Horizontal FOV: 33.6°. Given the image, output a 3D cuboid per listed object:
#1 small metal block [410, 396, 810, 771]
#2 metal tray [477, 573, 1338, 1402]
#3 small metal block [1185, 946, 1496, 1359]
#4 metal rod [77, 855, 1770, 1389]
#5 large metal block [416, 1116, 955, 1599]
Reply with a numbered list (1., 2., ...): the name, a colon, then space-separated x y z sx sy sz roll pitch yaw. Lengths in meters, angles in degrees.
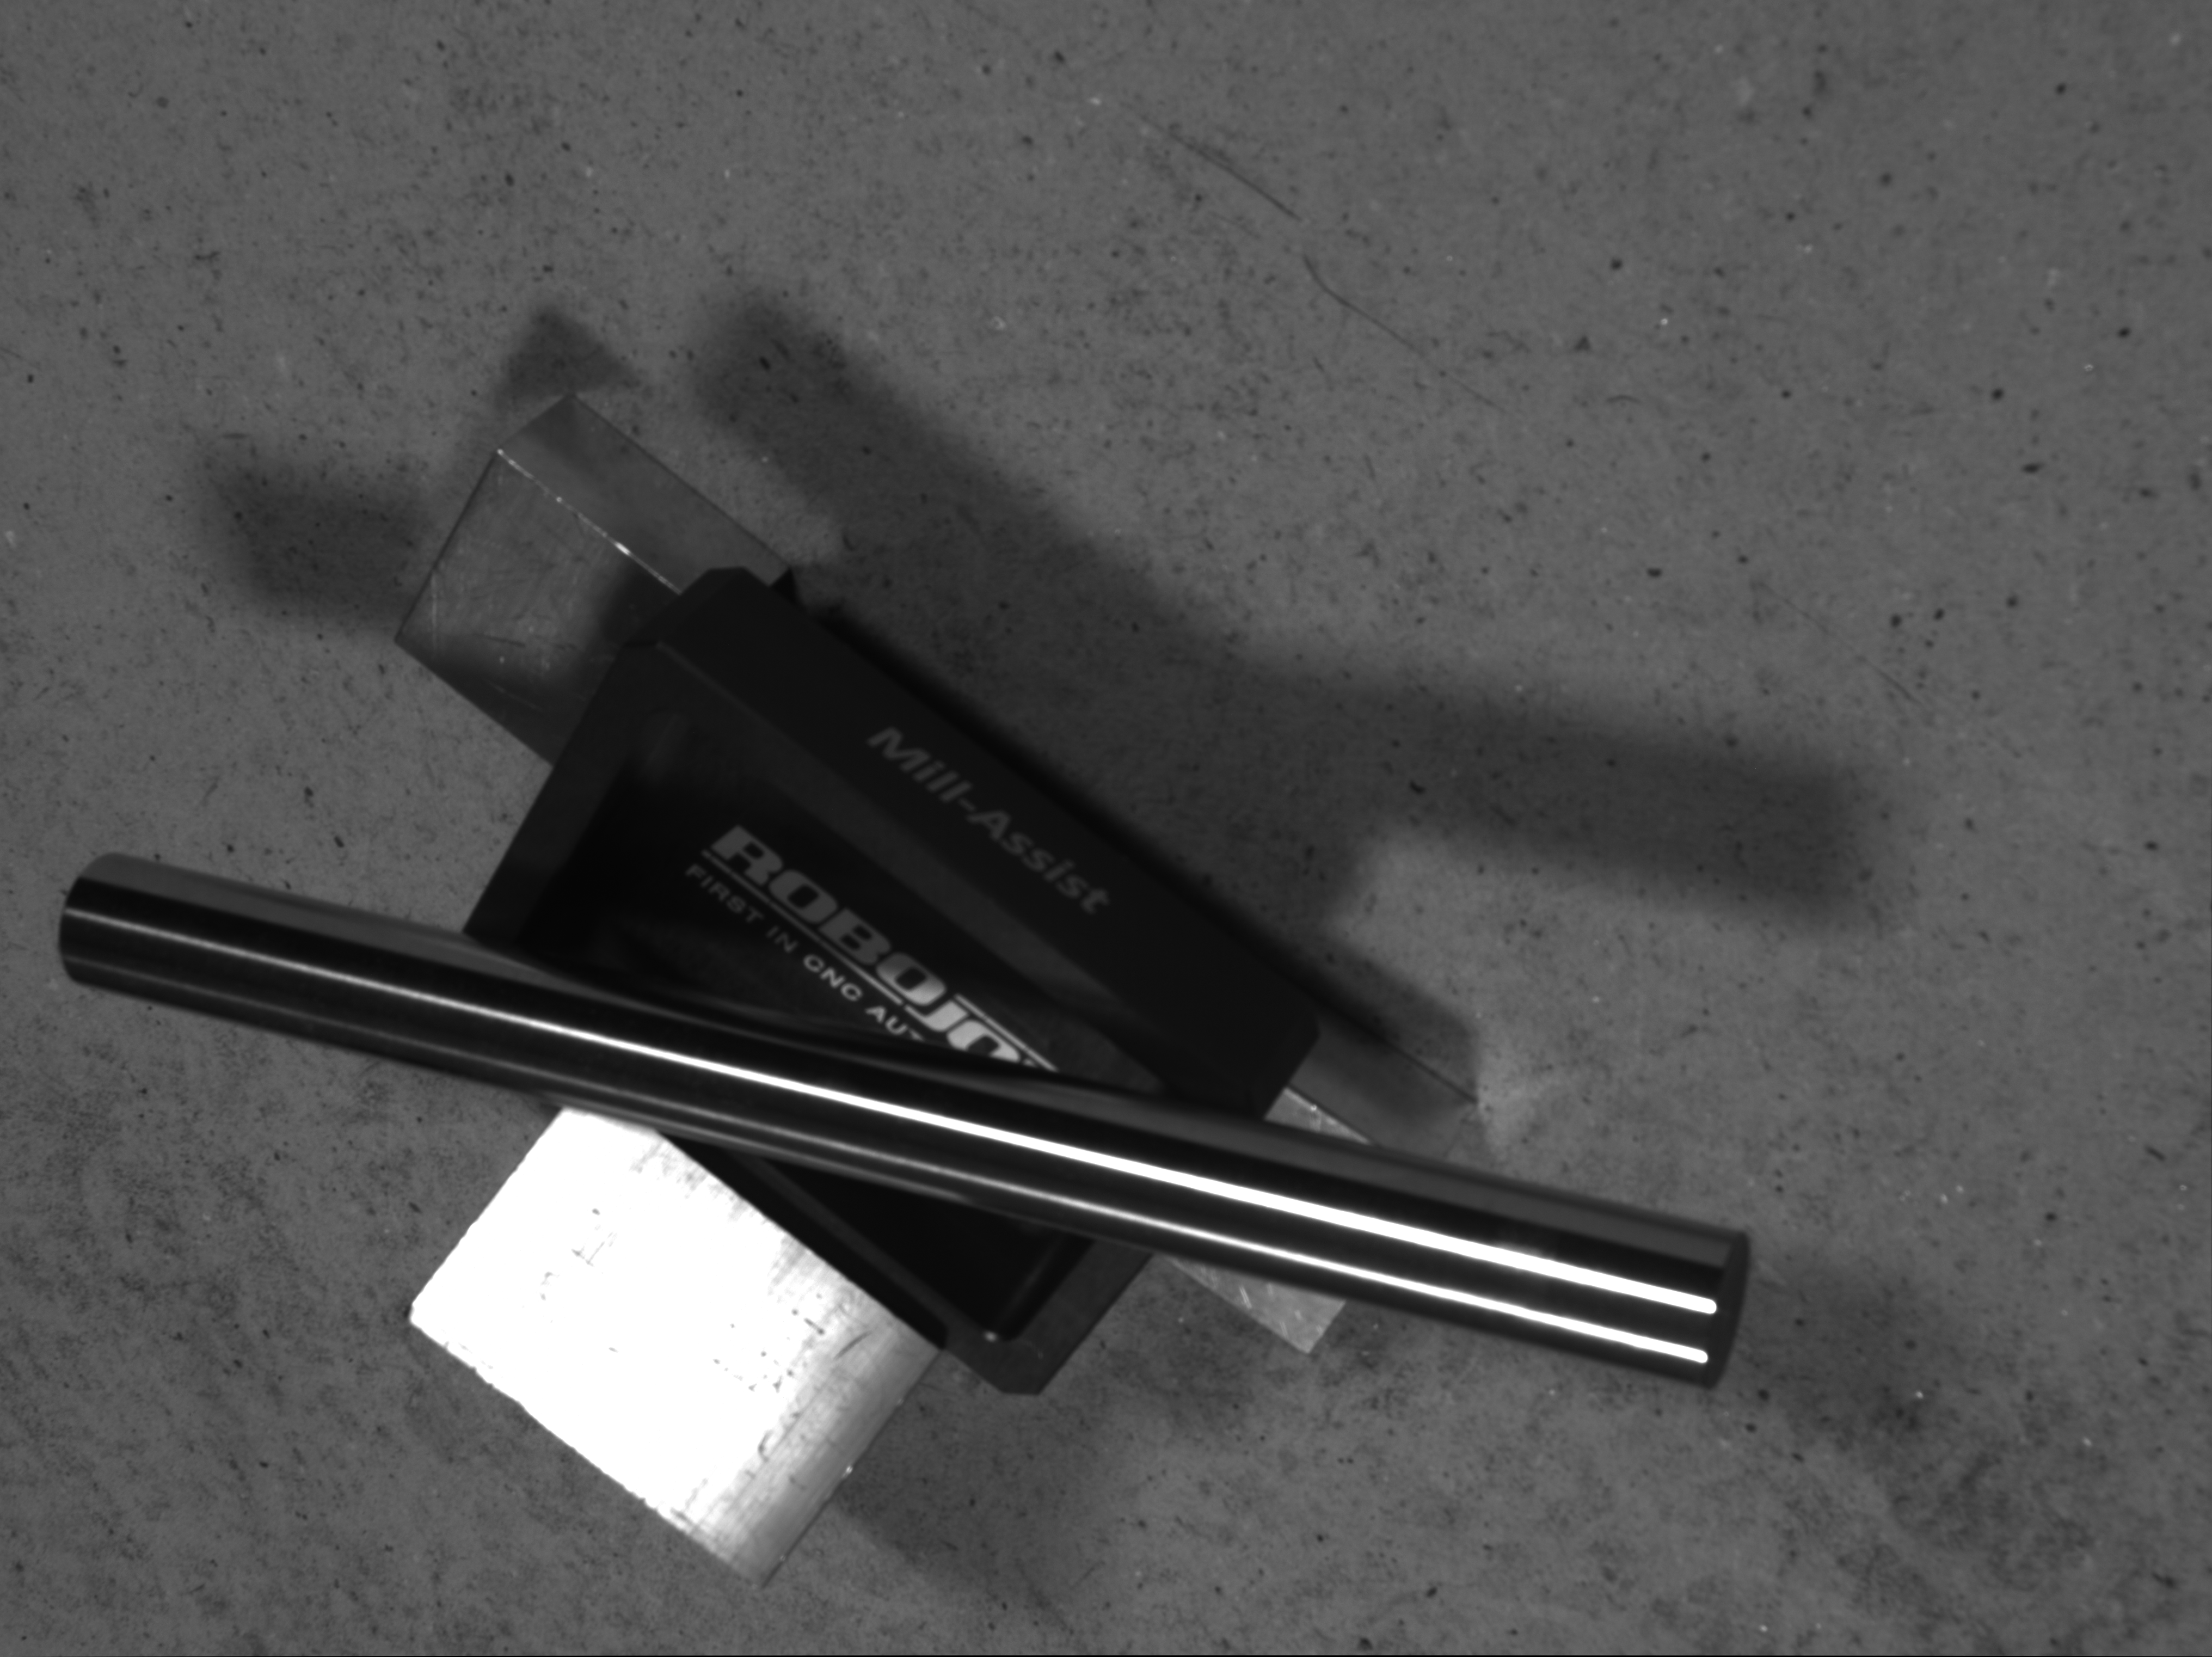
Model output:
1. small metal block: -0.089 -0.039 0.652 0.050 0.025 0.050 38 128 1
2. metal tray: -0.037 0.029 0.631 0.130 0.030 0.090 37 128 2
3. small metal block: 0.033 0.058 0.649 0.050 0.025 0.050 33 128 5
4. metal rod: -0.040 0.045 0.608 0.299 0.025 0.025 12 123 20
5. large metal block: -0.073 0.093 0.678 0.080 0.080 0.050 37 86 3
